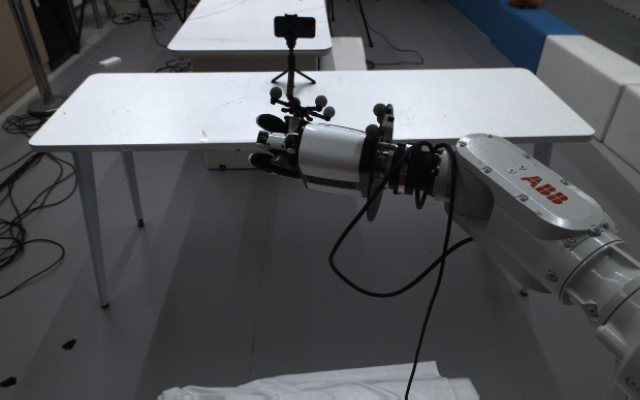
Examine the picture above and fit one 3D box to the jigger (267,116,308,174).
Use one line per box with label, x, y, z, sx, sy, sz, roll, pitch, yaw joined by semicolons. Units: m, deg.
jigger;-0.039;-0.081;0.685;0.043;0.071;0.043;15;-7;2
